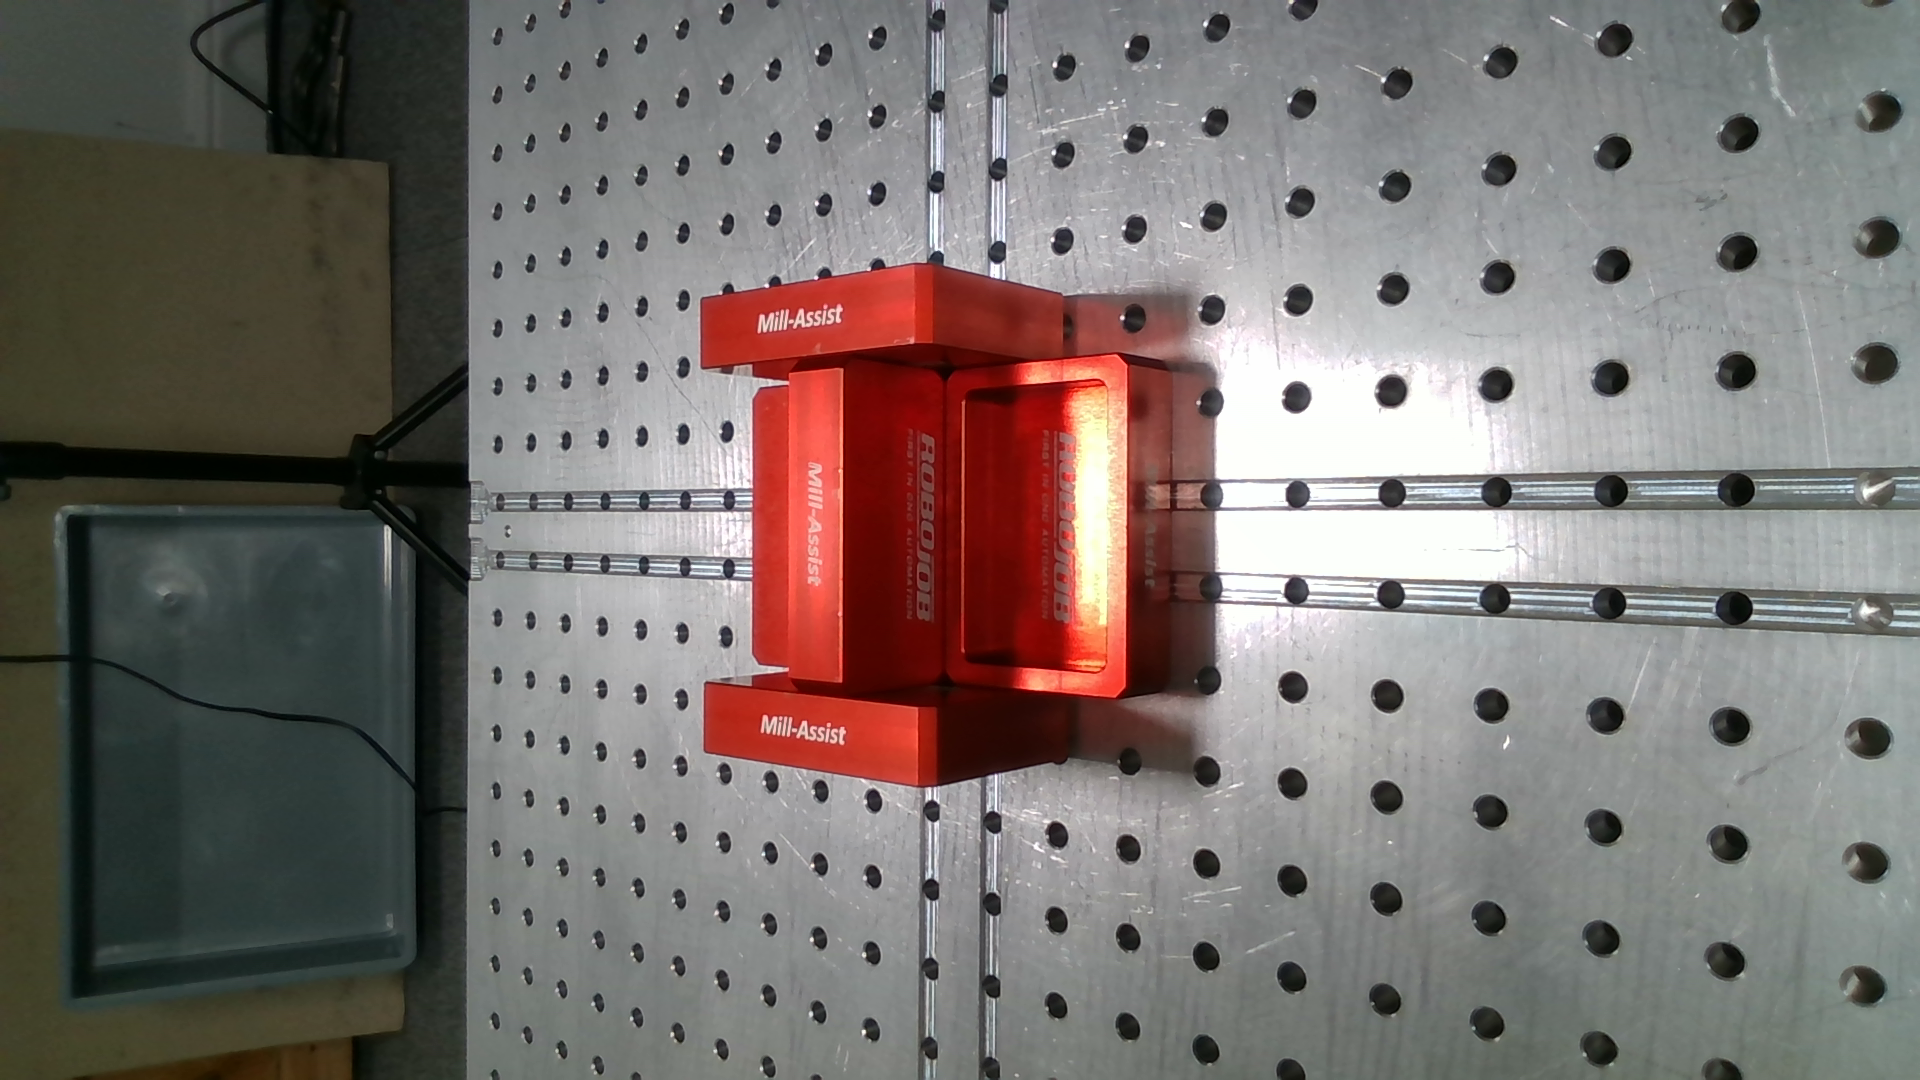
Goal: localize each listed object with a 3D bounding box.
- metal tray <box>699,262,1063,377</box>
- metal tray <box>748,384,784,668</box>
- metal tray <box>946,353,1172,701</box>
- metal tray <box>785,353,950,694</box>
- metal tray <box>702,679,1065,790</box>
[{"bbox_3d":[-0.034,-0.086,0.569,0.130,0.090,0.030,1,91,40],"label":"metal tray"},{"bbox_3d":[-0.056,-0.006,0.627,0.090,0.030,0.130,1,91,40],"label":"metal tray"},{"bbox_3d":[0.038,-0.005,0.549,0.090,0.030,0.130,1,91,40],"label":"metal tray"},{"bbox_3d":[-0.029,-0.006,0.564,0.030,0.090,0.130,1,91,40],"label":"metal tray"},{"bbox_3d":[-0.033,0.075,0.570,0.130,0.090,0.030,1,91,40],"label":"metal tray"}]
